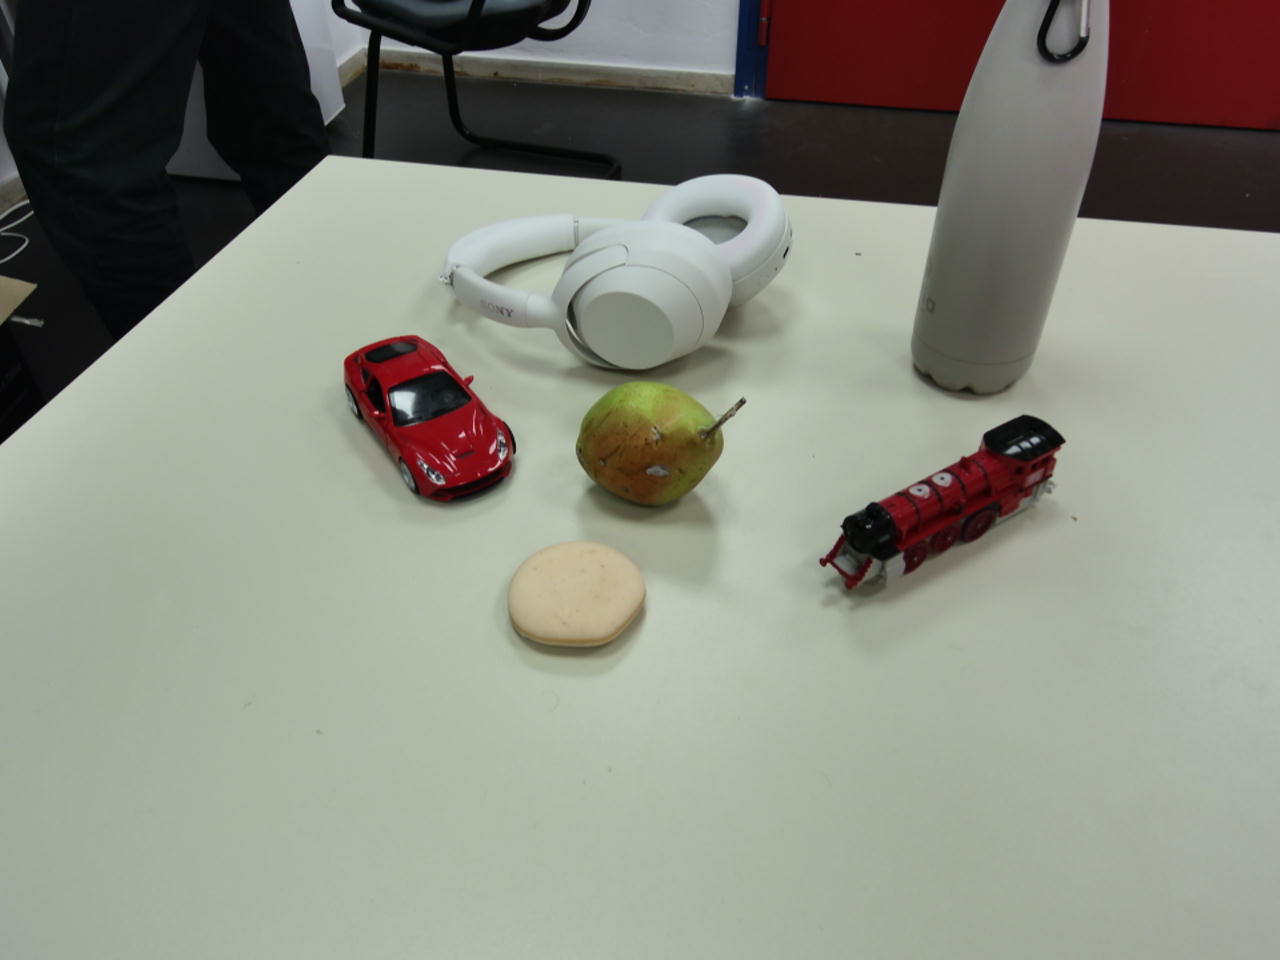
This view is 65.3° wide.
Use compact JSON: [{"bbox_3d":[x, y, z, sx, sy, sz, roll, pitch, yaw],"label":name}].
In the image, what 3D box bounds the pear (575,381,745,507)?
[{"bbox_3d":[0.005,-0.021,0.506,0.068,0.069,0.070,-18,42,-20],"label":"pear"}]
